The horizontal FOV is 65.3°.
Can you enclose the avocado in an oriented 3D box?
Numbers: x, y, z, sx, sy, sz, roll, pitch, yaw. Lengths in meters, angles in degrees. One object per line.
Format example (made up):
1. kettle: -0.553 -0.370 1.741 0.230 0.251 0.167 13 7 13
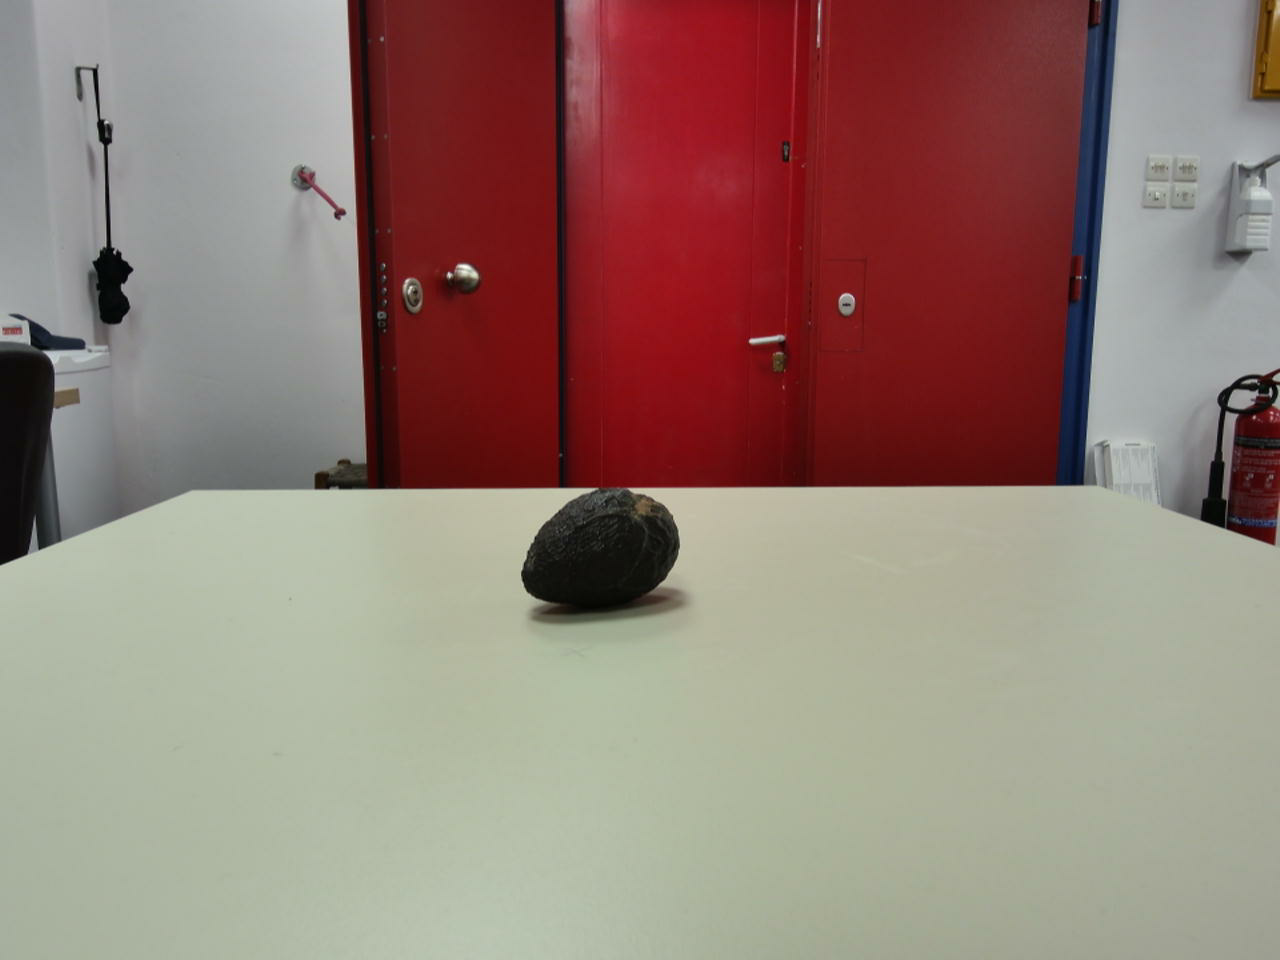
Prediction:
1. avocado: -0.021 0.036 0.534 0.092 0.062 0.062 -3 8 -24
